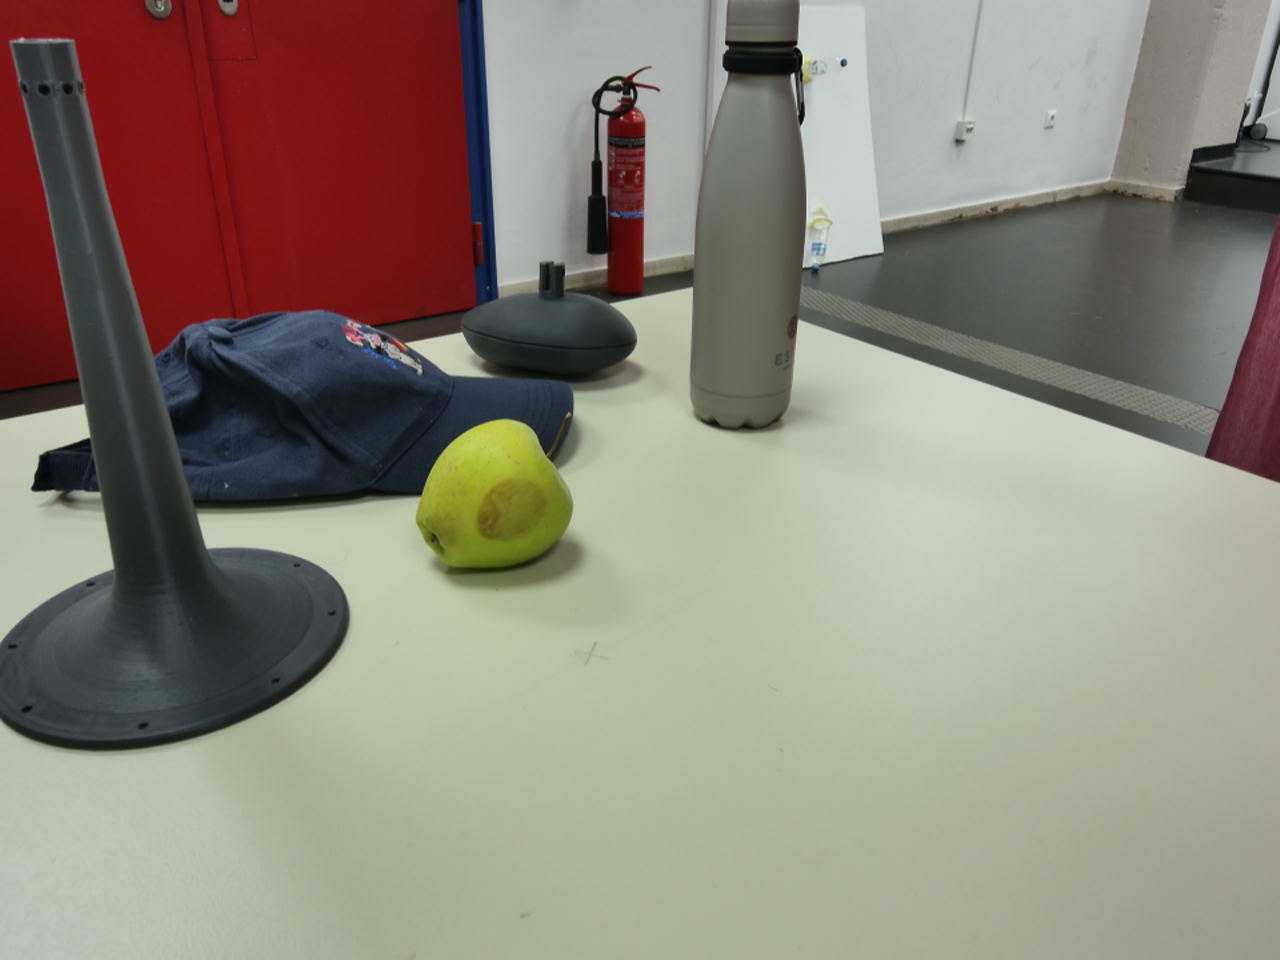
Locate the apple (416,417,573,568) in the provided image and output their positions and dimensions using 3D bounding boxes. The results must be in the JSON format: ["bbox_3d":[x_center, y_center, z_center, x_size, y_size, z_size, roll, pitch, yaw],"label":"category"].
[{"bbox_3d":[-0.074,0.006,0.516,0.077,0.075,0.072,5,25,6],"label":"apple"}]
